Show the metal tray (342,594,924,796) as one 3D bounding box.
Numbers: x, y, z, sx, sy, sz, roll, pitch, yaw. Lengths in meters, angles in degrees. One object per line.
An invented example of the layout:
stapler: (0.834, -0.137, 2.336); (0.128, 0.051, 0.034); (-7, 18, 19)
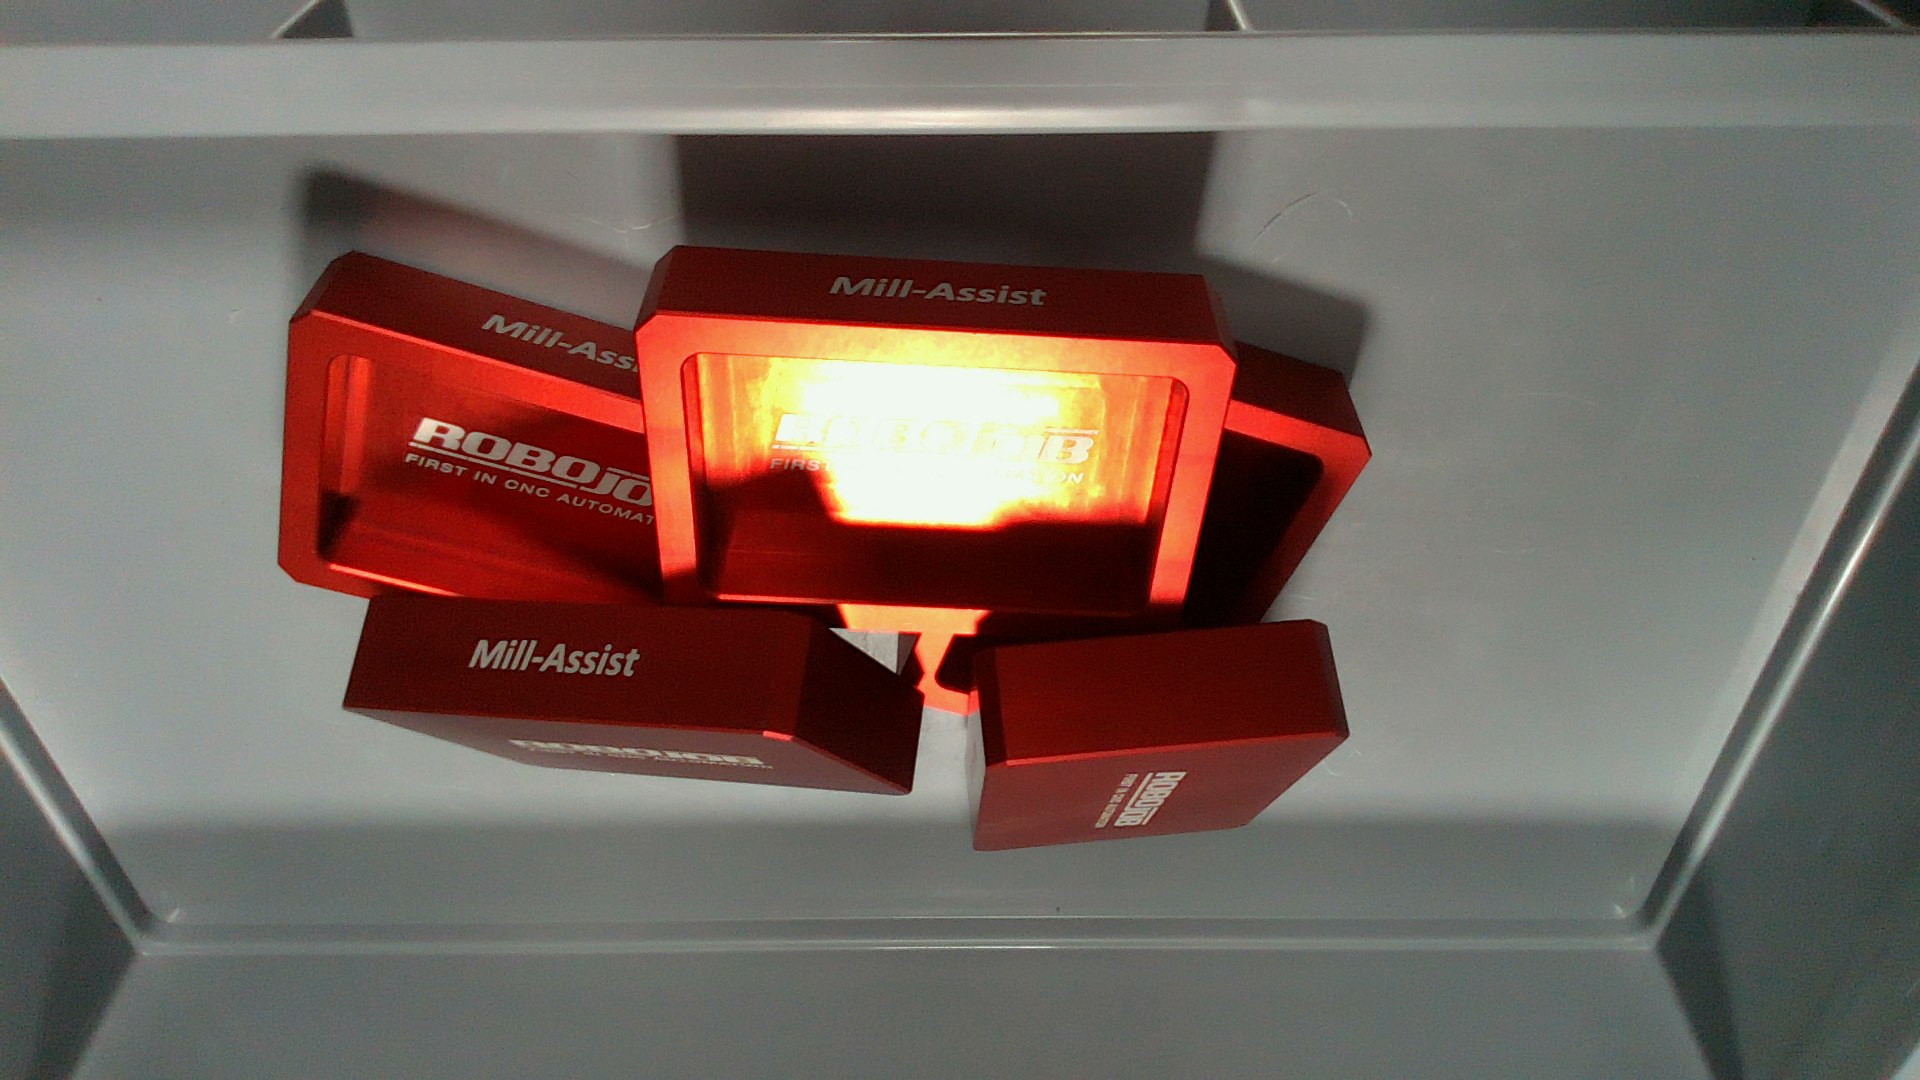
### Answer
metal tray: (-0.086, 0.044, 0.378); (0.130, 0.030, 0.090); (1, 162, 19)

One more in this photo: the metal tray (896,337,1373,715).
metal tray: (0.043, 0.002, 0.387); (0.090, 0.030, 0.130); (15, 129, -12)

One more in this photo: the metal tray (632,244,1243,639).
metal tray: (-0.006, -0.020, 0.329); (0.130, 0.030, 0.090); (3, 130, -2)

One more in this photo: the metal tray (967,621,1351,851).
metal tray: (0.049, 0.061, 0.395); (0.090, 0.030, 0.130); (-5, 159, -3)

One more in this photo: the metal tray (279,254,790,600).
metal tray: (-0.109, -0.014, 0.371); (0.130, 0.030, 0.090); (15, 128, -13)
